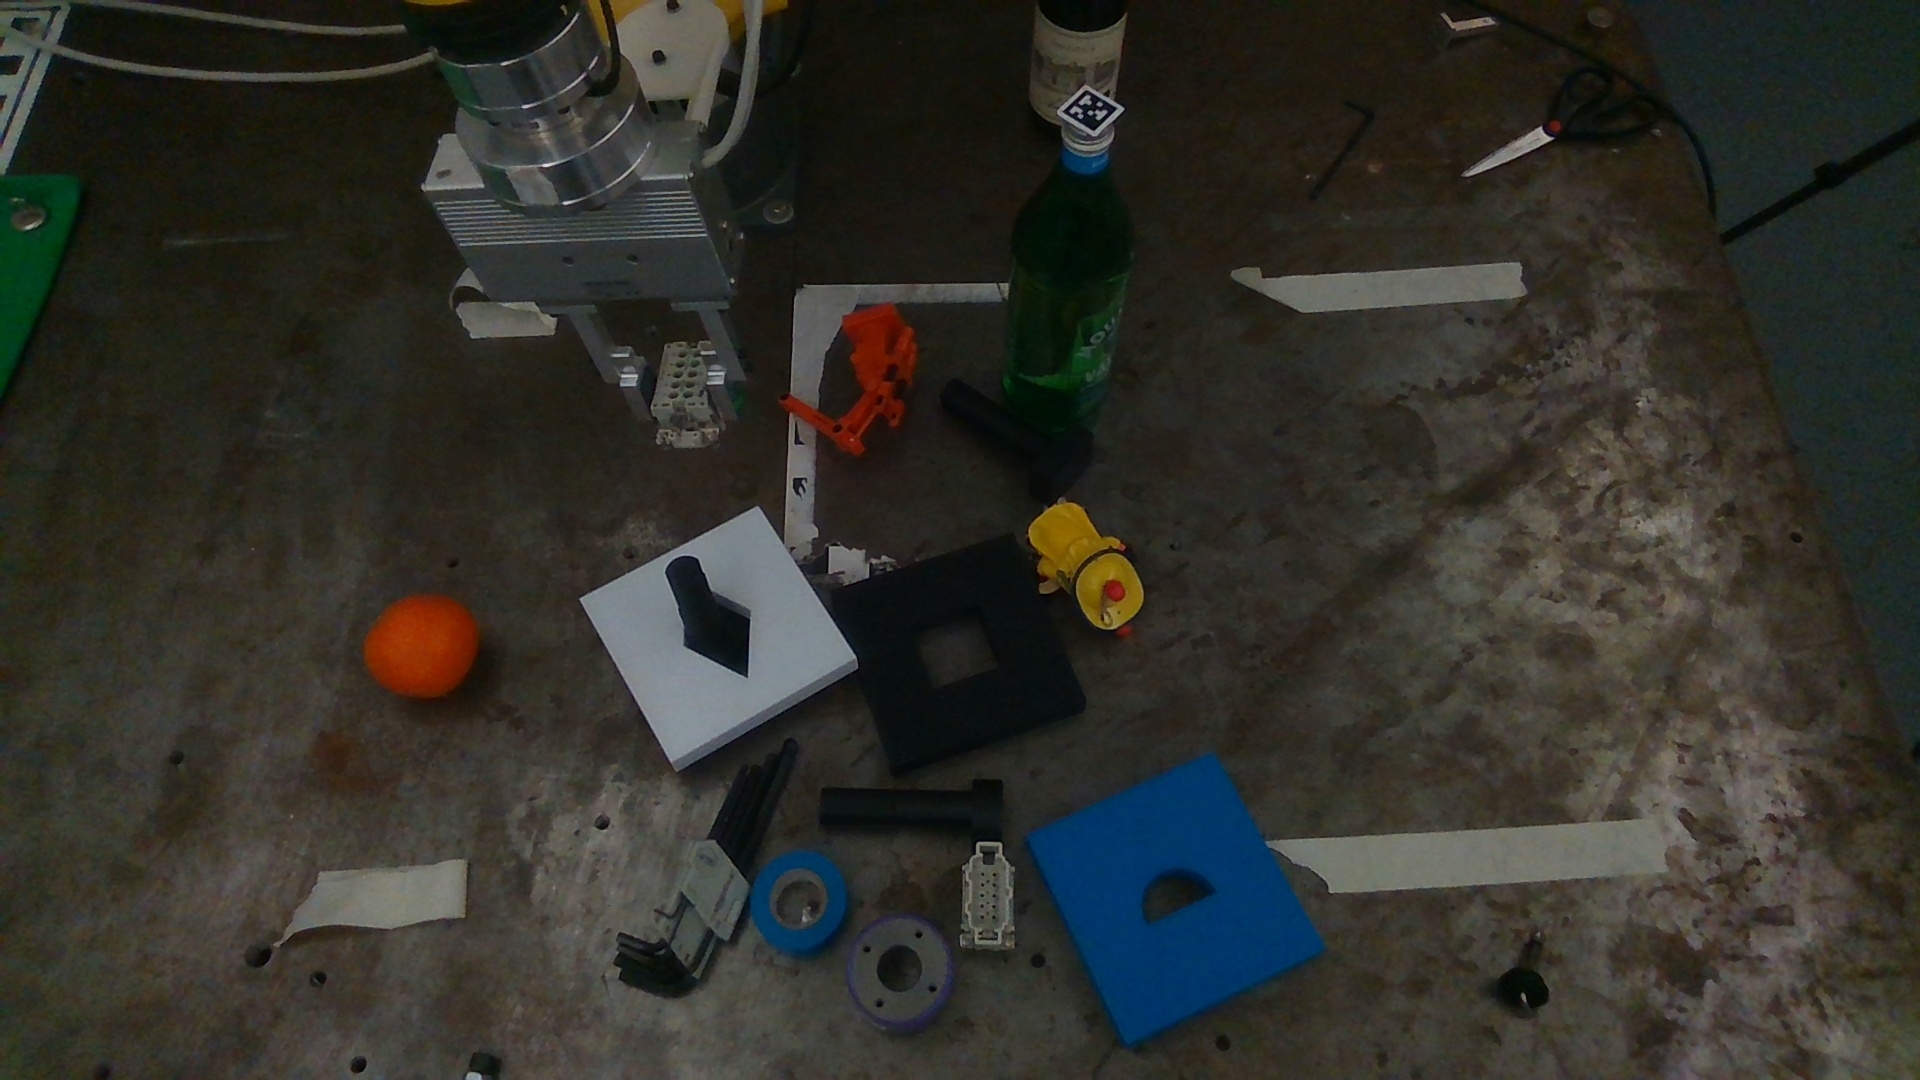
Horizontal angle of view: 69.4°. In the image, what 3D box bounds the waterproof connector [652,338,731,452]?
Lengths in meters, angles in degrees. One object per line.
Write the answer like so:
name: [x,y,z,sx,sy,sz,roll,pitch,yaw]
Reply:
waterproof connector: [-0.150,-0.082,0.779,0.037,0.038,0.069,-1,64,5]
